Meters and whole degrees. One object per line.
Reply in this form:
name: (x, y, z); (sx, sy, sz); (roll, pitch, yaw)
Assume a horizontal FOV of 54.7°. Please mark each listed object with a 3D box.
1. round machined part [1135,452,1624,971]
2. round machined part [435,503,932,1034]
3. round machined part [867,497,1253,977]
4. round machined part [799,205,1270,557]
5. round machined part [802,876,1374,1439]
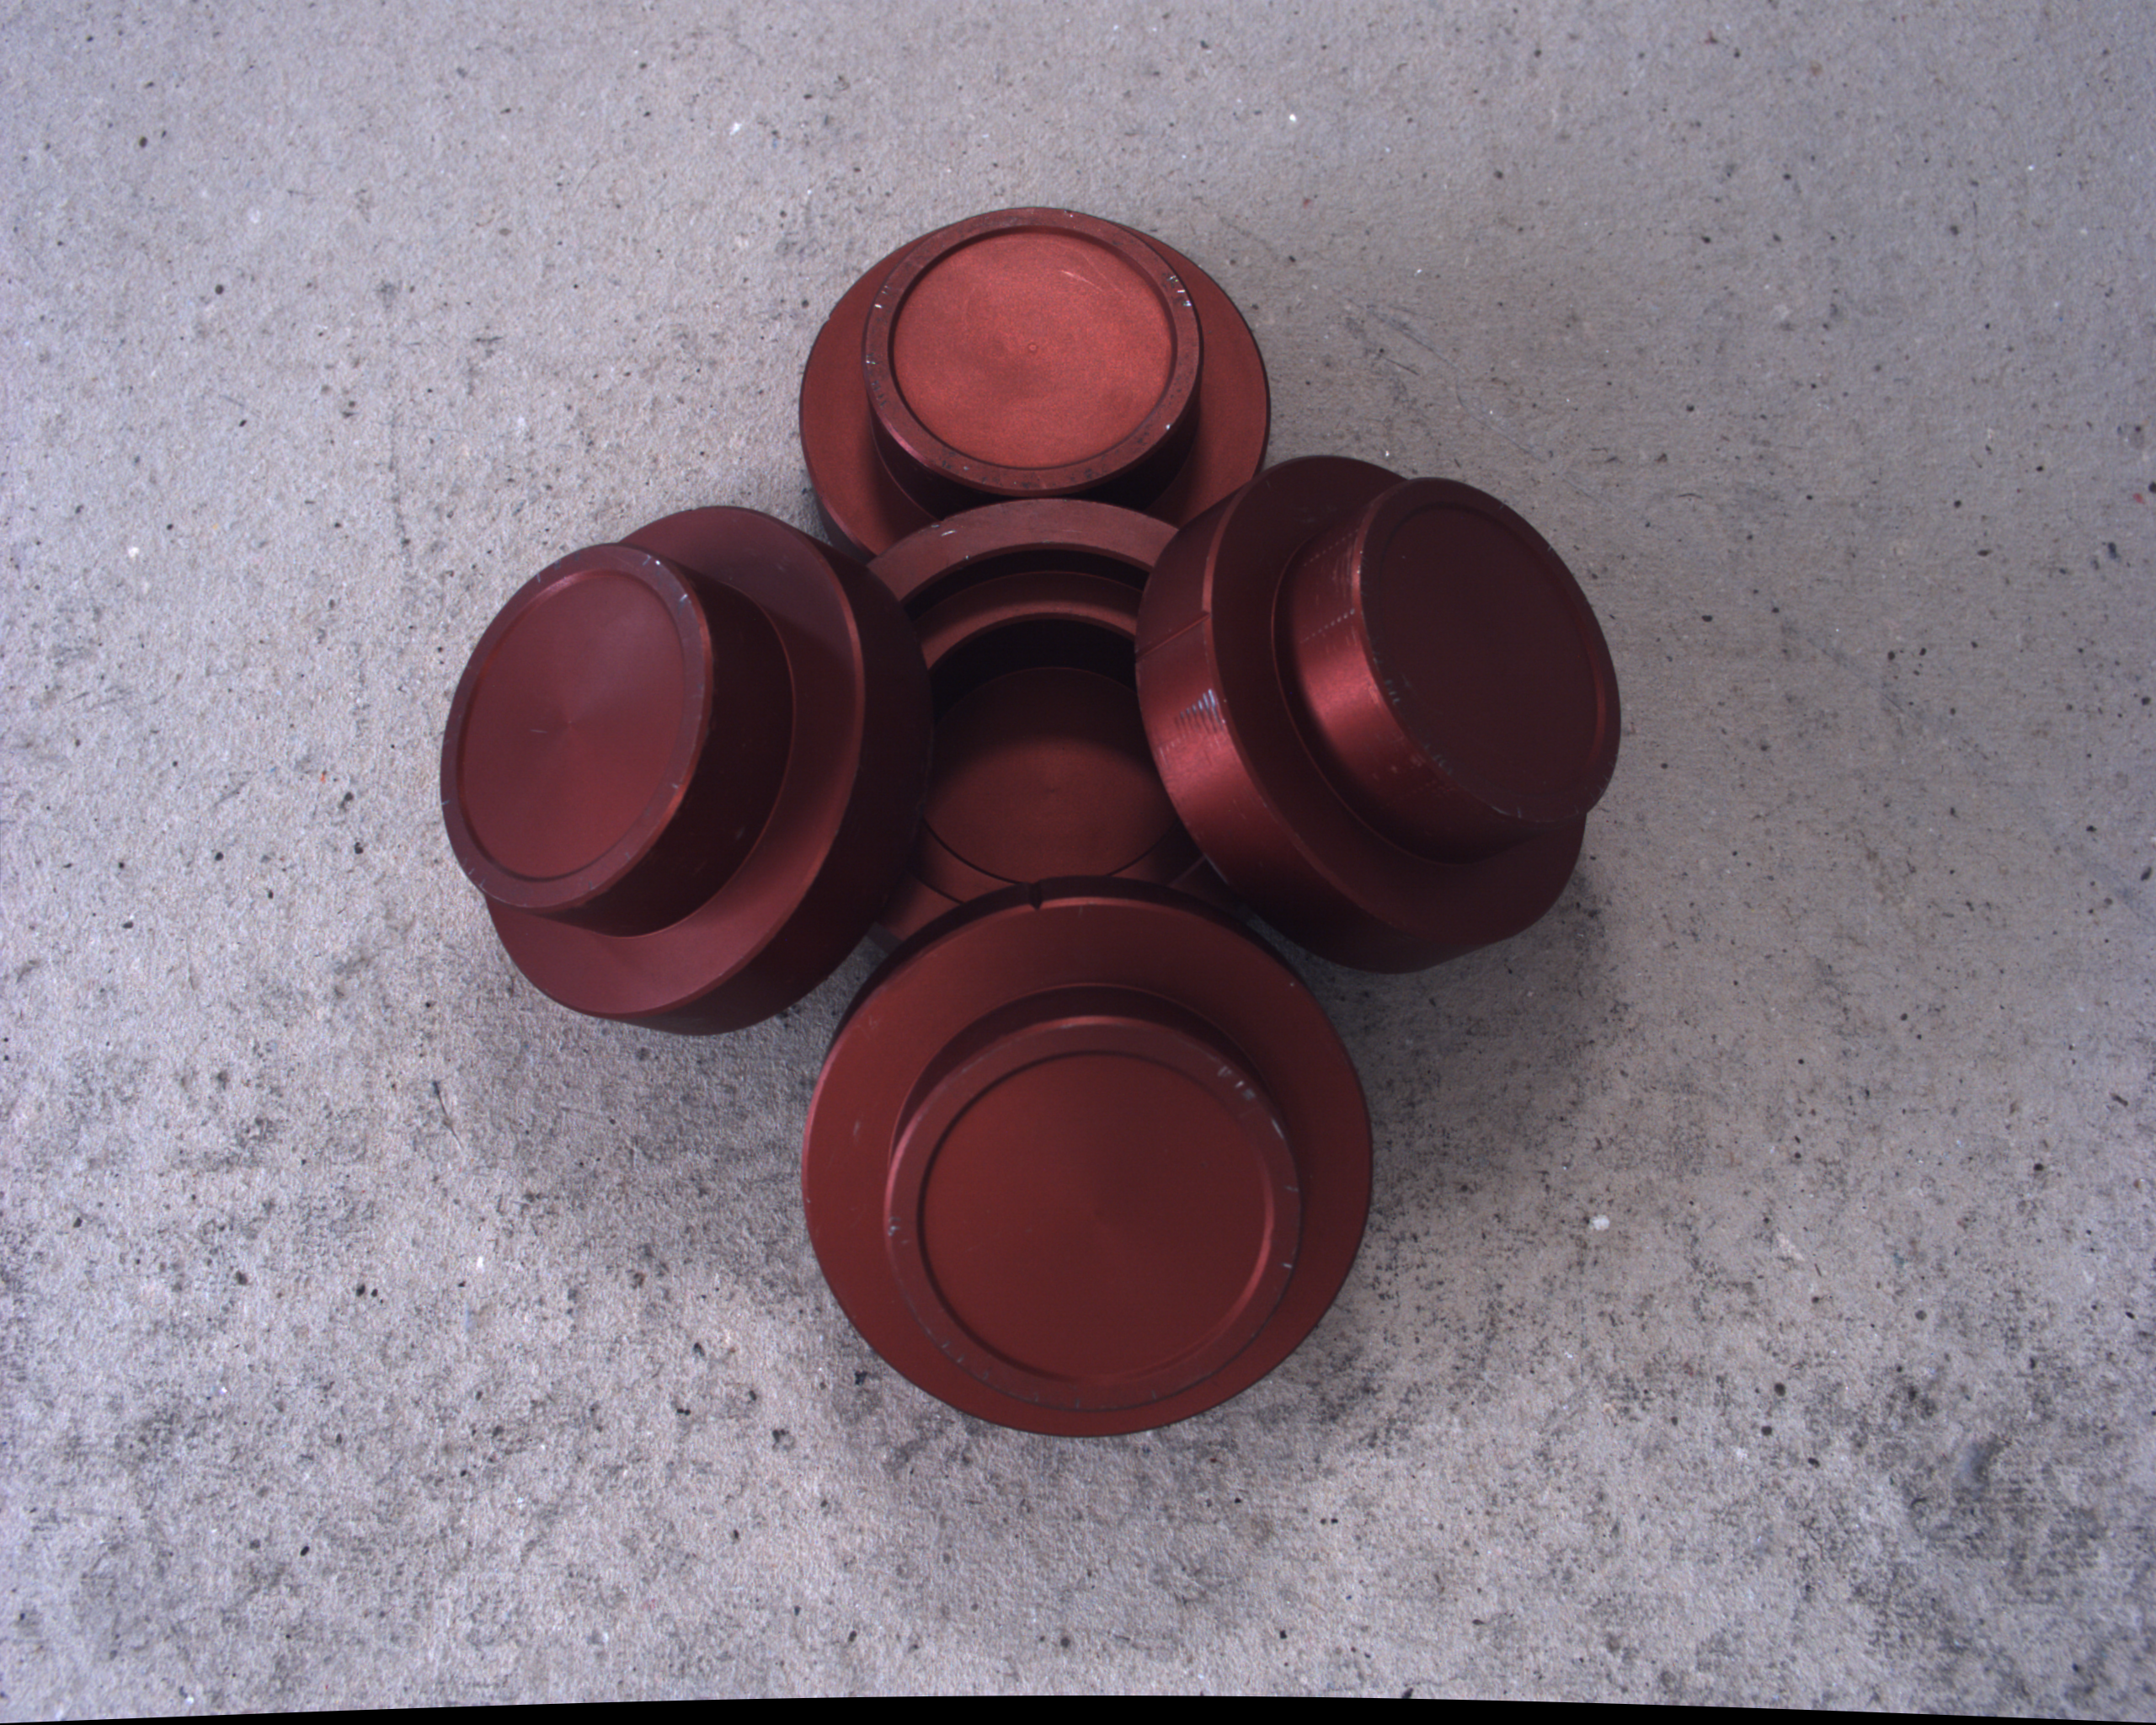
round machined part: (0.062, -0.032, 0.385); (0.099, 0.042, 0.098); (16, 61, -32)
round machined part: (-0.078, -0.020, 0.381); (0.098, 0.042, 0.098); (-10, 72, 32)
round machined part: (-0.004, -0.019, 0.407); (0.099, 0.042, 0.098); (-1, 69, 2)
round machined part: (-0.009, -0.097, 0.435); (0.099, 0.042, 0.098); (0, 68, 0)
round machined part: (0.002, 0.054, 0.358); (0.099, 0.042, 0.097); (0, 100, -2)
